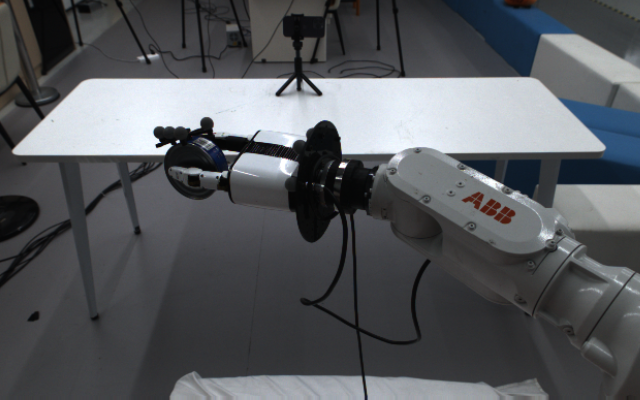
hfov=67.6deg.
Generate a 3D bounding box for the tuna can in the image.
[{"bbox_3d":[-0.170,-0.043,0.684,0.085,0.085,0.034,12,28,14],"label":"tuna can"}]
